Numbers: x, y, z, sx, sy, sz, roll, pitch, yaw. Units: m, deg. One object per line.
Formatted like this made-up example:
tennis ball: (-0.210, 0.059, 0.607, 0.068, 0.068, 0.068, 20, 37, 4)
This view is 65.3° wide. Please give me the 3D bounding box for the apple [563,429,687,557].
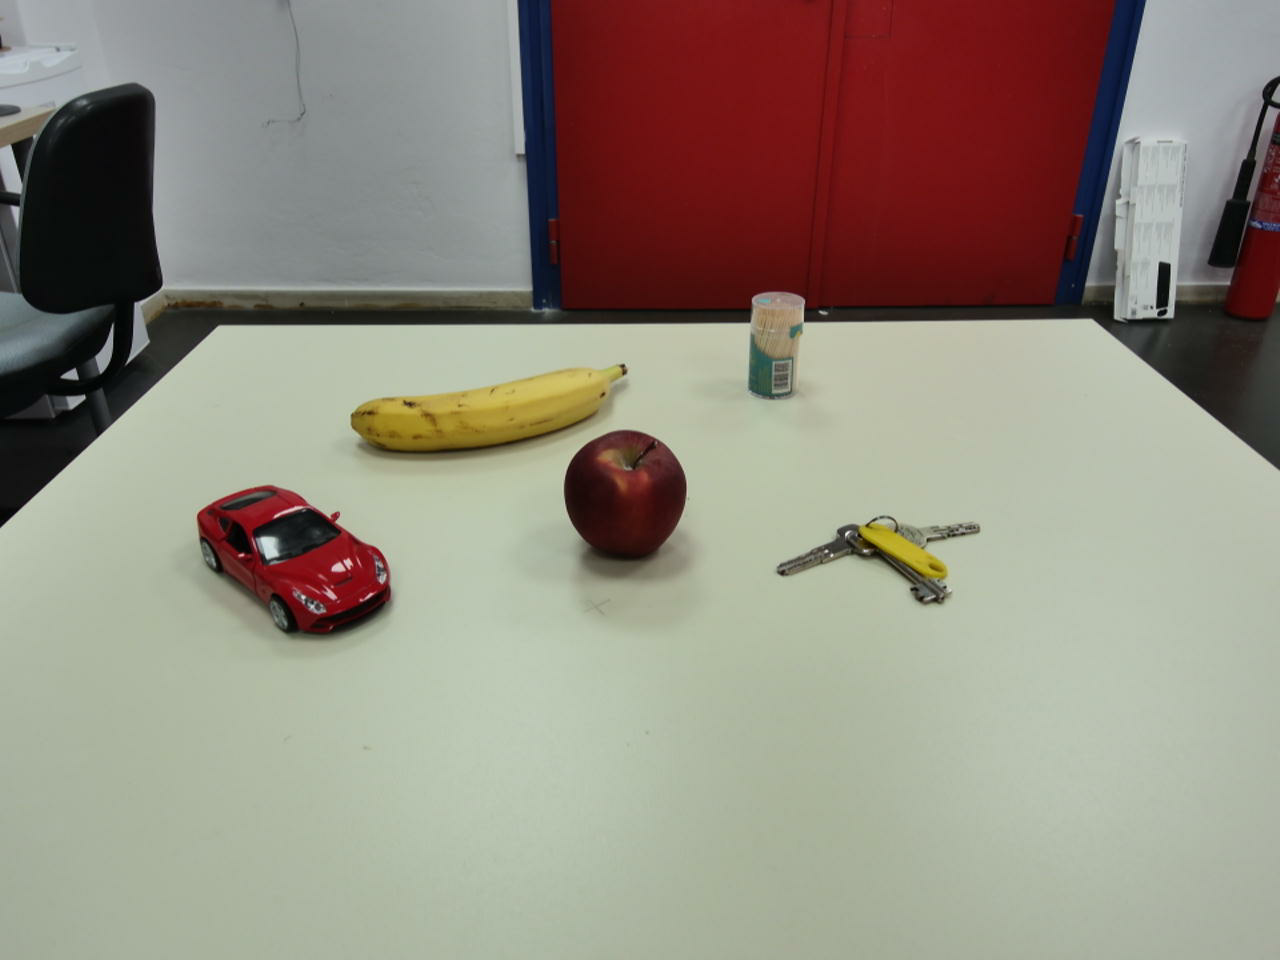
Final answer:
apple: (-0.008, 0.008, 0.562, 0.070, 0.072, 0.070, 1, 26, 0)
